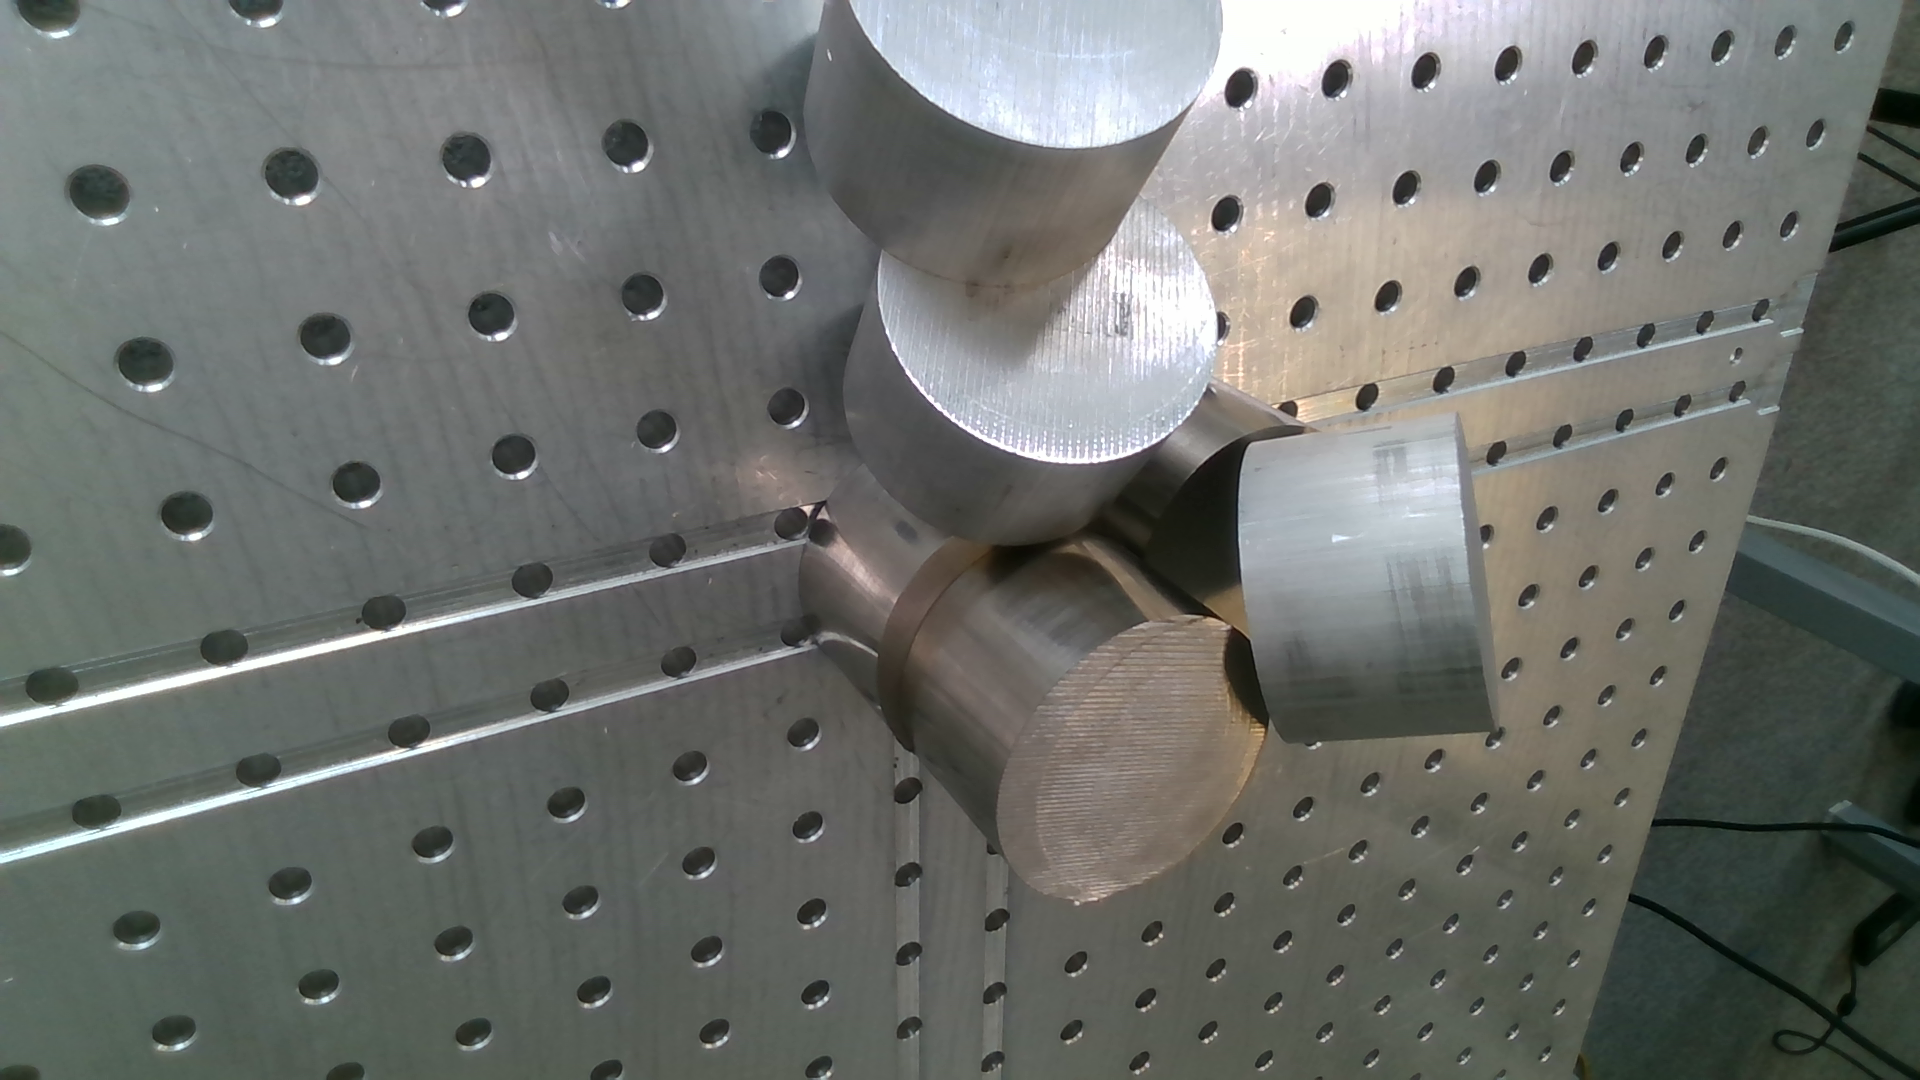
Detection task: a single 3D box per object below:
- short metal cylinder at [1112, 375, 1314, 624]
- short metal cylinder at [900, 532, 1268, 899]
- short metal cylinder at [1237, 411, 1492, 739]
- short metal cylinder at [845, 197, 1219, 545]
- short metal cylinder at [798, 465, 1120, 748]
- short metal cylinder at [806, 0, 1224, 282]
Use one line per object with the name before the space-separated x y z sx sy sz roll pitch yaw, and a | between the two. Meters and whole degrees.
short metal cylinder | 0.073 -0.007 0.417 0.080 0.050 0.080 -14 121 -25
short metal cylinder | 0.032 0.043 0.353 0.080 0.050 0.080 -14 121 -25
short metal cylinder | 0.106 0.010 0.354 0.050 0.080 0.080 -8 131 23
short metal cylinder | 0.015 -0.045 0.333 0.080 0.080 0.050 -21 165 -21
short metal cylinder | 0.001 0.015 0.385 0.080 0.050 0.080 -14 122 -25
short metal cylinder | 0.010 -0.104 0.298 0.080 0.080 0.050 -21 166 -21
